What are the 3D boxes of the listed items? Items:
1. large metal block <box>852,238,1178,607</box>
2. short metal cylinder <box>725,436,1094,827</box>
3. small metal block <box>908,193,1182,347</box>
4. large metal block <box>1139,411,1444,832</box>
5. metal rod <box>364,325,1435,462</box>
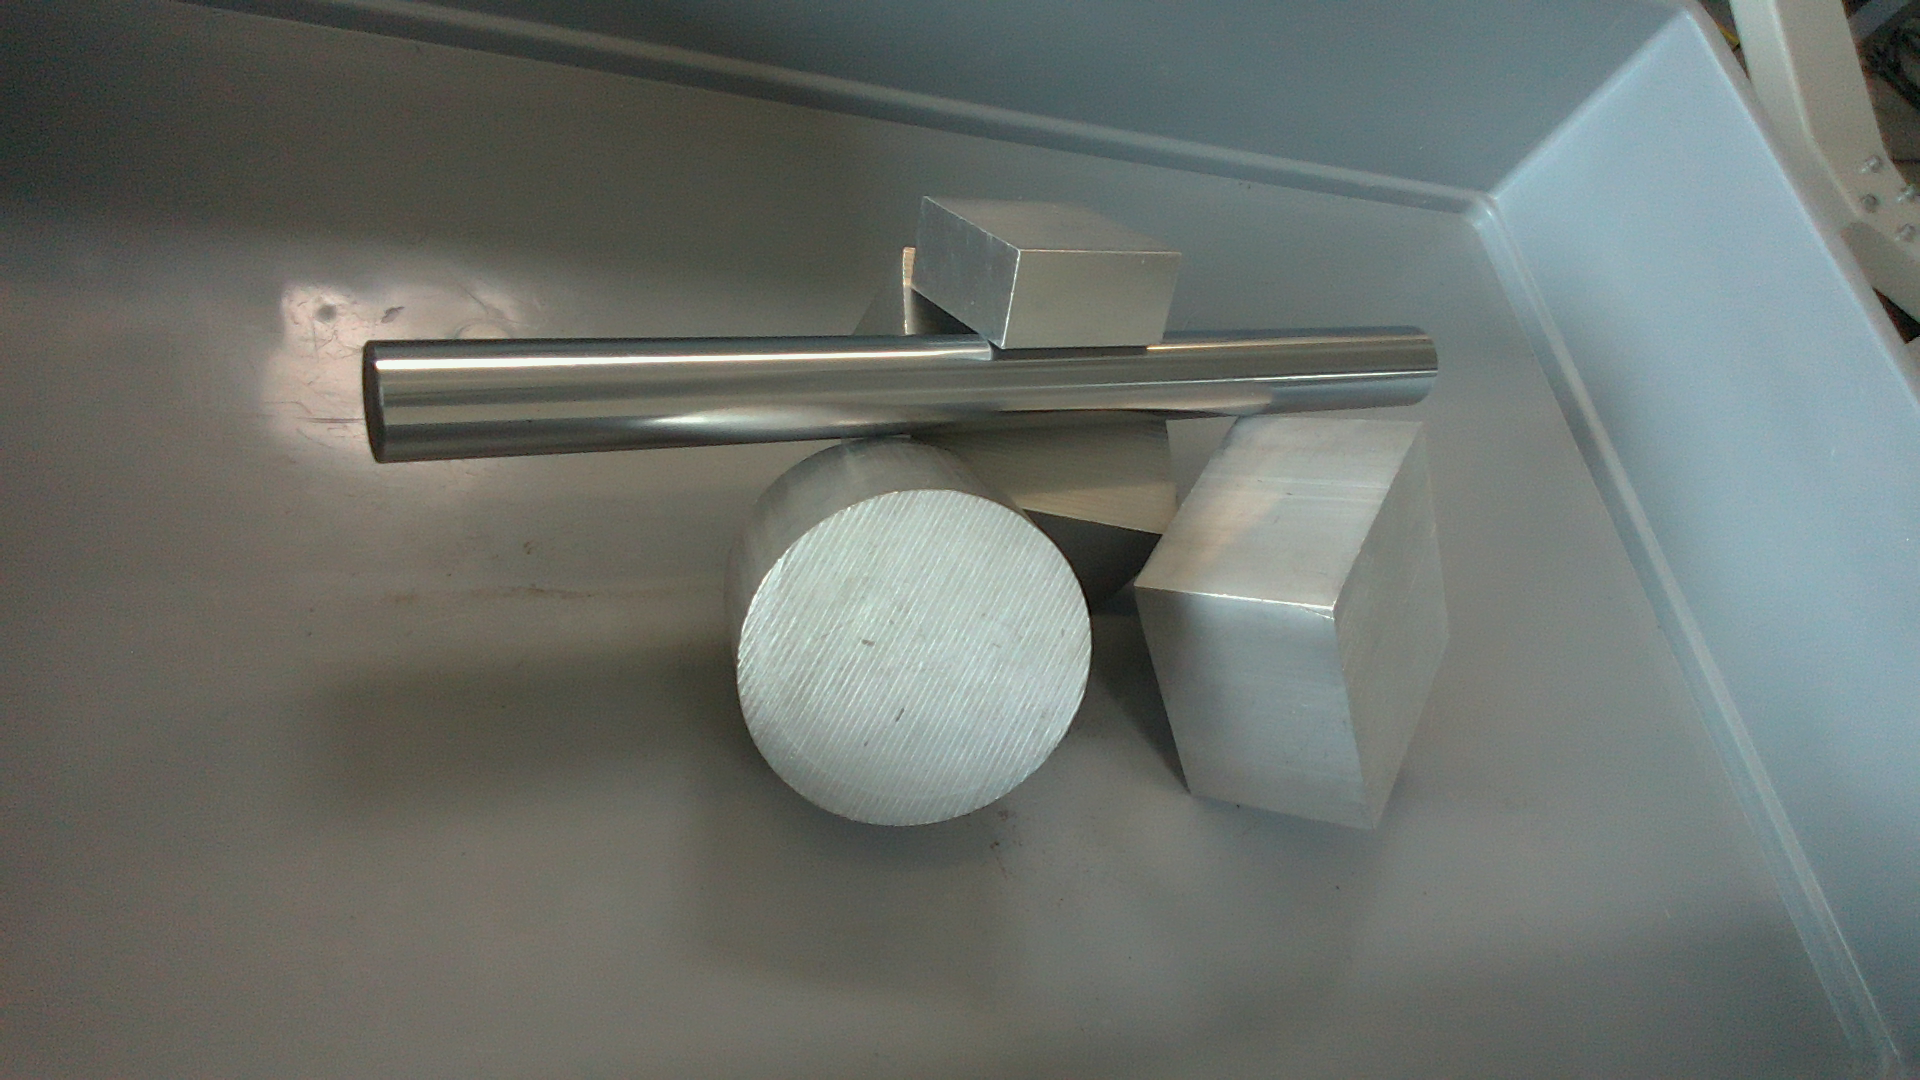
[{"bbox_3d":[0.012,-0.031,0.397,0.080,0.050,0.080,10,57,-23],"label":"large metal block"},{"bbox_3d":[-0.014,0.020,0.325,0.080,0.080,0.050,18,12,-18],"label":"short metal cylinder"},{"bbox_3d":[0.021,-0.072,0.364,0.050,0.025,0.050,-6,30,-31],"label":"small metal block"},{"bbox_3d":[0.097,0.020,0.384,0.080,0.050,0.080,-53,136,-39],"label":"large metal block"},{"bbox_3d":[0.010,-0.042,0.355,0.301,0.025,0.025,-6,64,-31],"label":"metal rod"}]
